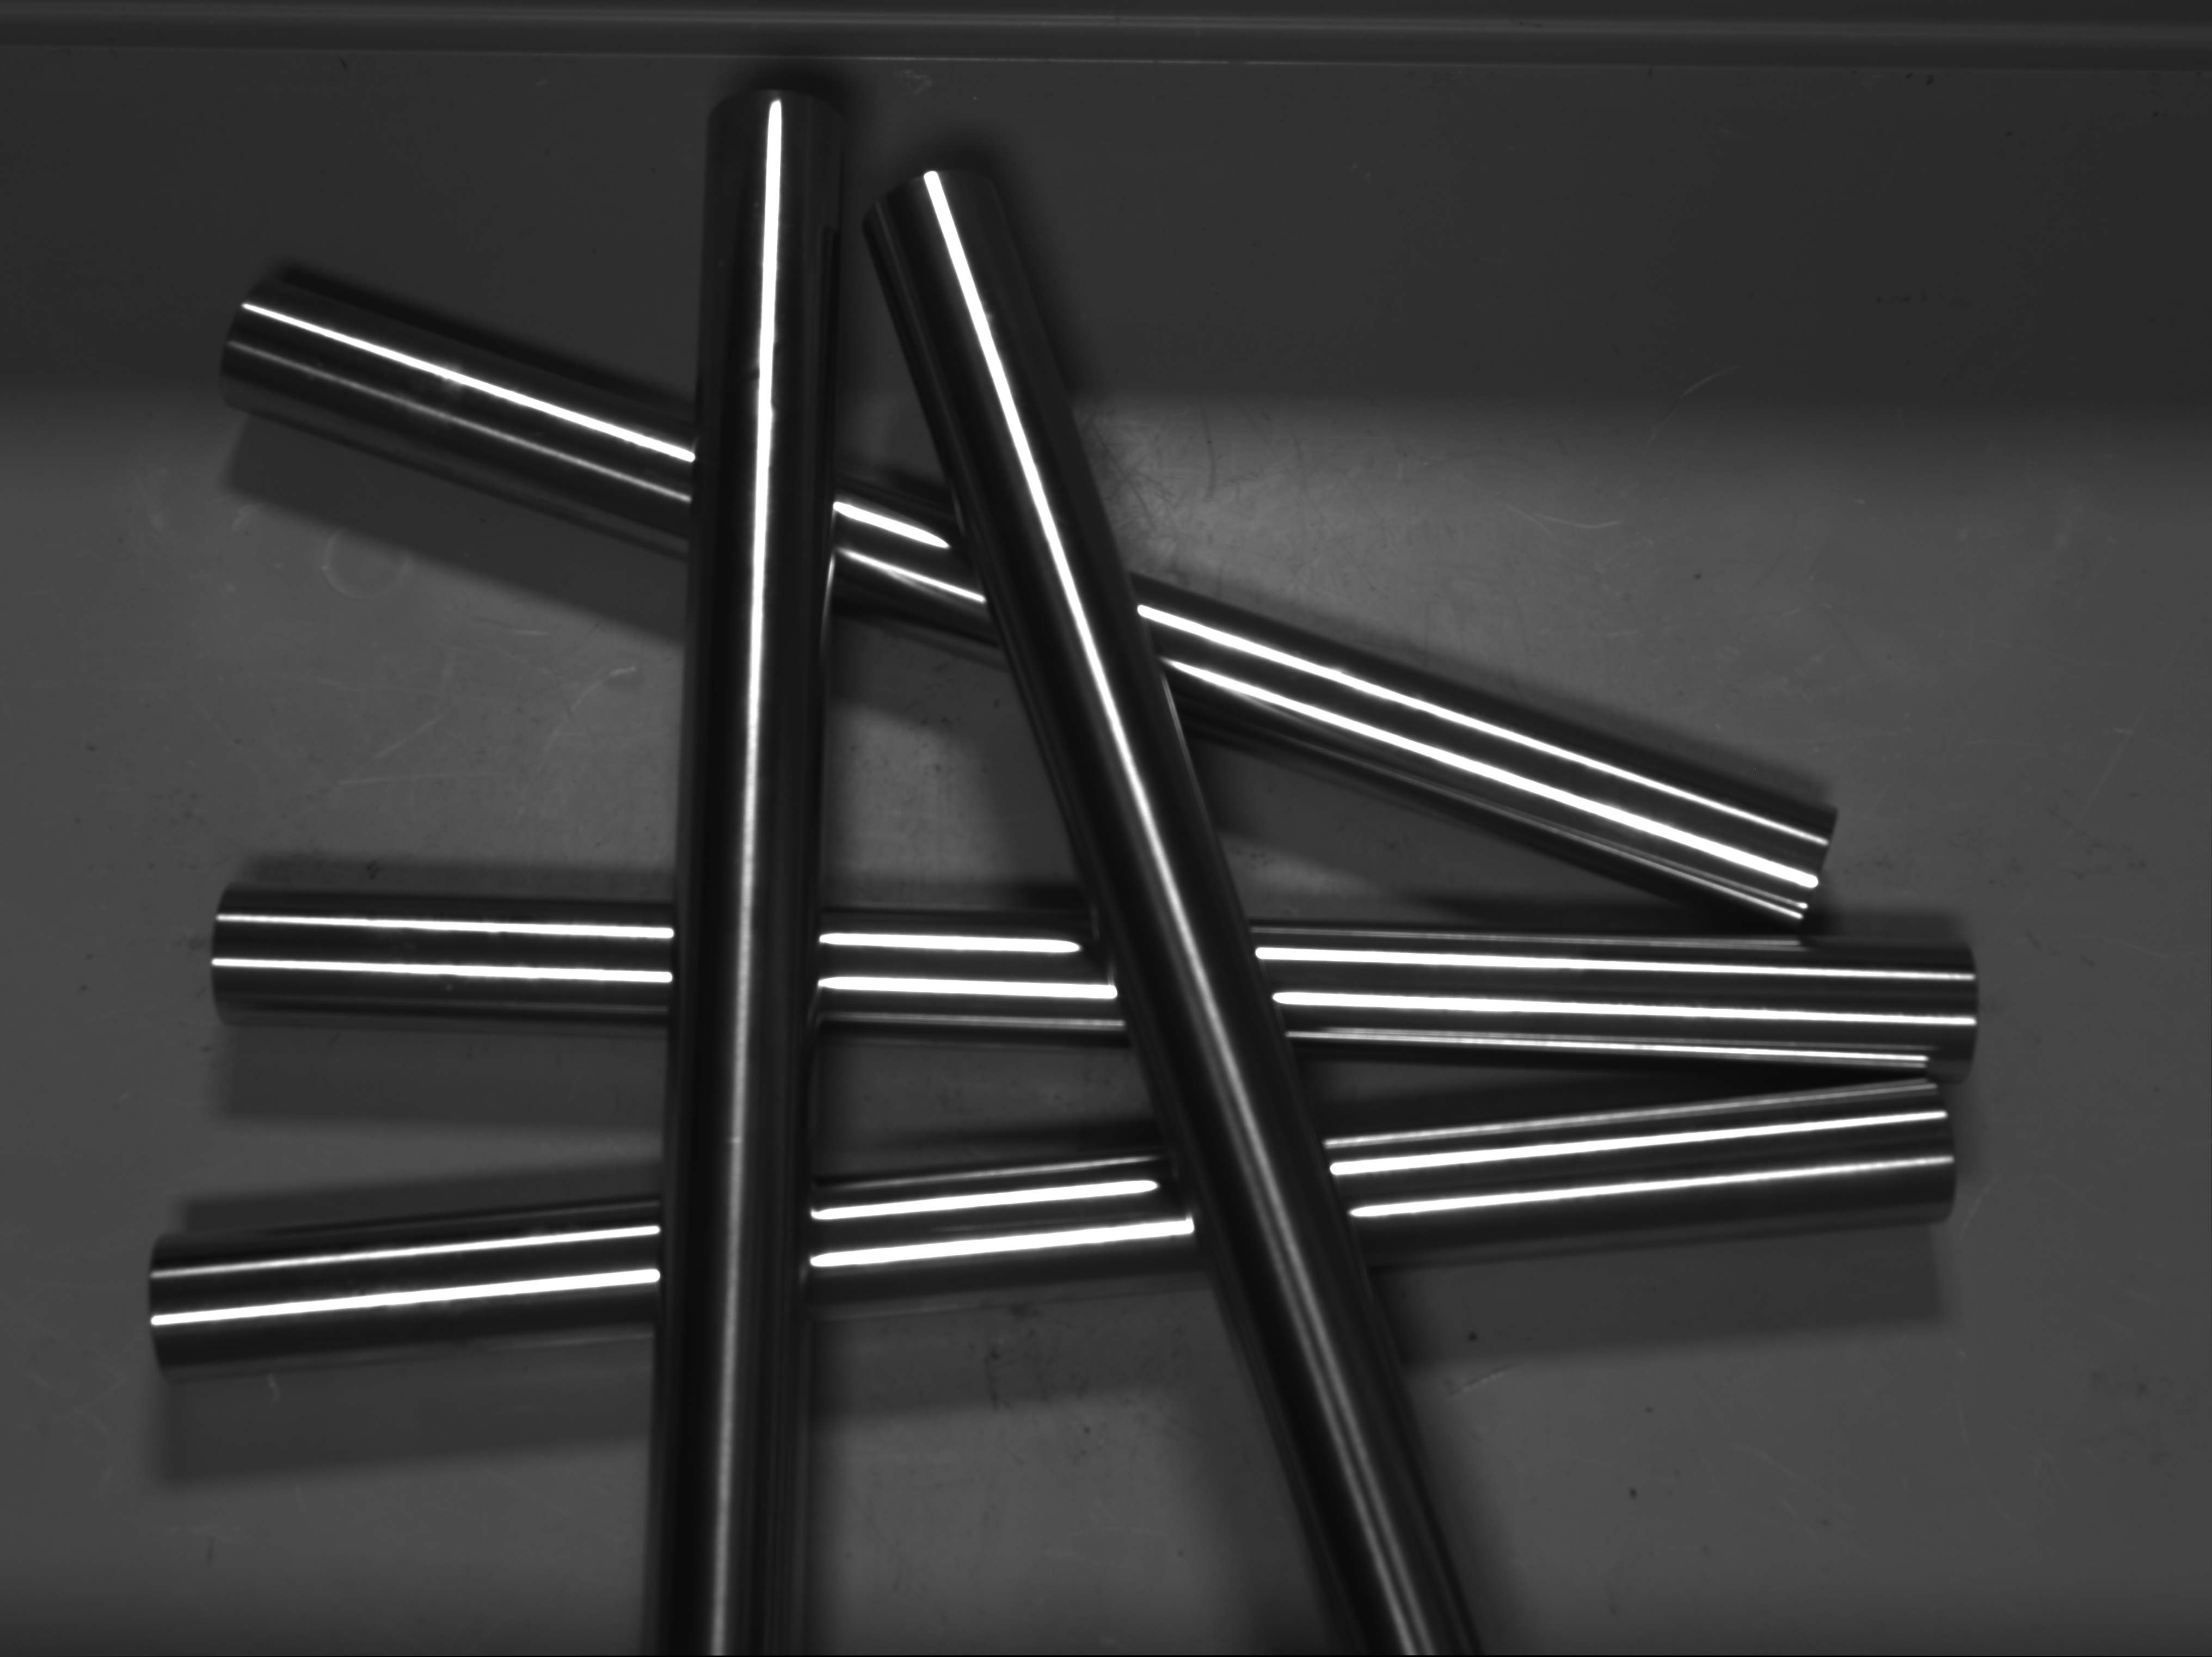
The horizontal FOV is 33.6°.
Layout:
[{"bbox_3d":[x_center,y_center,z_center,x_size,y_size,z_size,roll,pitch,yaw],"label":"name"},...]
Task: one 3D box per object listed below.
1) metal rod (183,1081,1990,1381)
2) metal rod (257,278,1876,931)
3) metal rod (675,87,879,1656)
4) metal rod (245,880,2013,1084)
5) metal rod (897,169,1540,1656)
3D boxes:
[{"bbox_3d":[-0.002,0.068,0.619,0.300,0.025,0.025,-5,70,-2],"label":"metal rod"},{"bbox_3d":[-0.010,-0.041,0.658,0.300,0.025,0.025,19,71,7],"label":"metal rod"},{"bbox_3d":[-0.054,0.013,0.611,0.025,0.025,0.300,0,70,0],"label":"metal rod"},{"bbox_3d":[0.004,0.026,0.633,0.300,0.025,0.025,2,70,1],"label":"metal rod"},{"bbox_3d":[0.019,0.023,0.608,0.025,0.025,0.300,-16,71,-6],"label":"metal rod"}]
